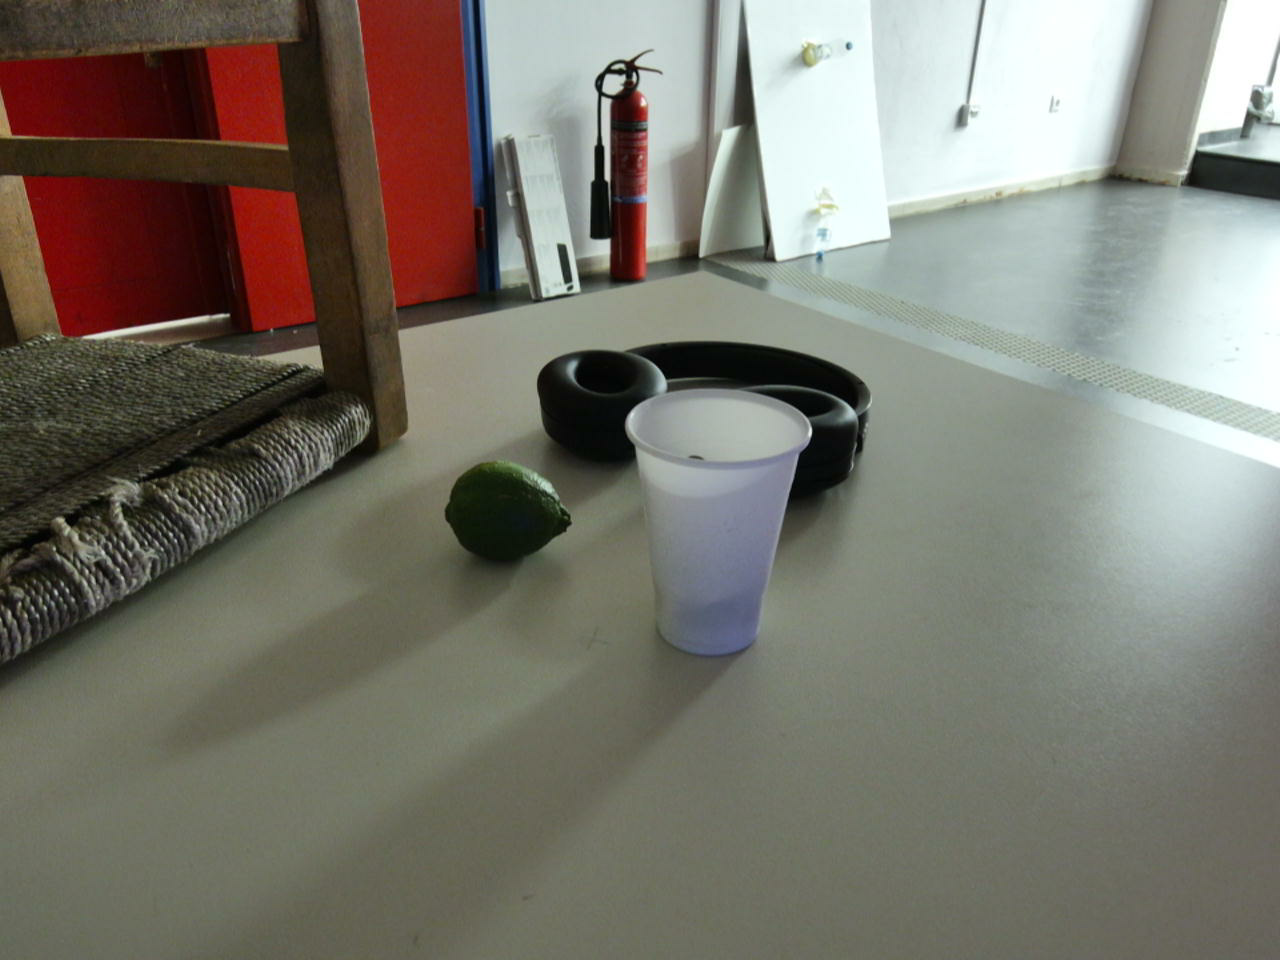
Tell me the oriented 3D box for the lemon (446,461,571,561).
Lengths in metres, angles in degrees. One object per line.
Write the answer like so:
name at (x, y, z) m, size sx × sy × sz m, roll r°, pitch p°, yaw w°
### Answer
lemon at (-0.070, 0.015, 0.514) m, size 0.057 × 0.051 × 0.054 m, roll -21°, pitch 32°, yaw -37°
